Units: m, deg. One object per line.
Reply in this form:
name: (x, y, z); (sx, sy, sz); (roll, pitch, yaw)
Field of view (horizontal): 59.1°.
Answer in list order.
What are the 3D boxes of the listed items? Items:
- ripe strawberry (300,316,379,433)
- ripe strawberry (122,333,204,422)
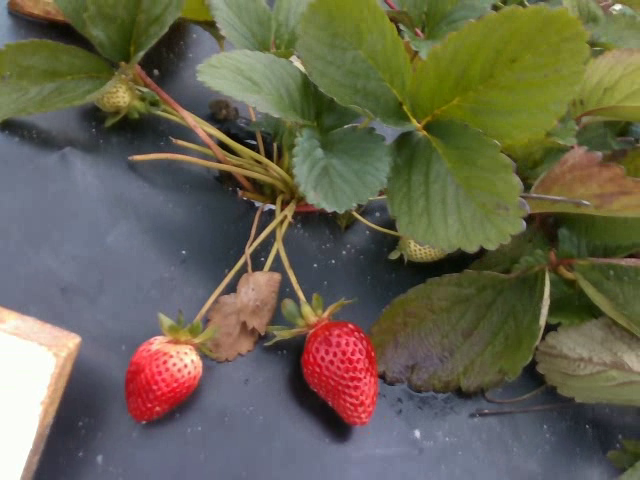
ripe strawberry: (0.011, 0.059, 0.256); (0.044, 0.059, 0.041); (-25, -14, 13)
ripe strawberry: (-0.068, 0.059, 0.240); (0.036, 0.041, 0.028); (22, -10, 4)
